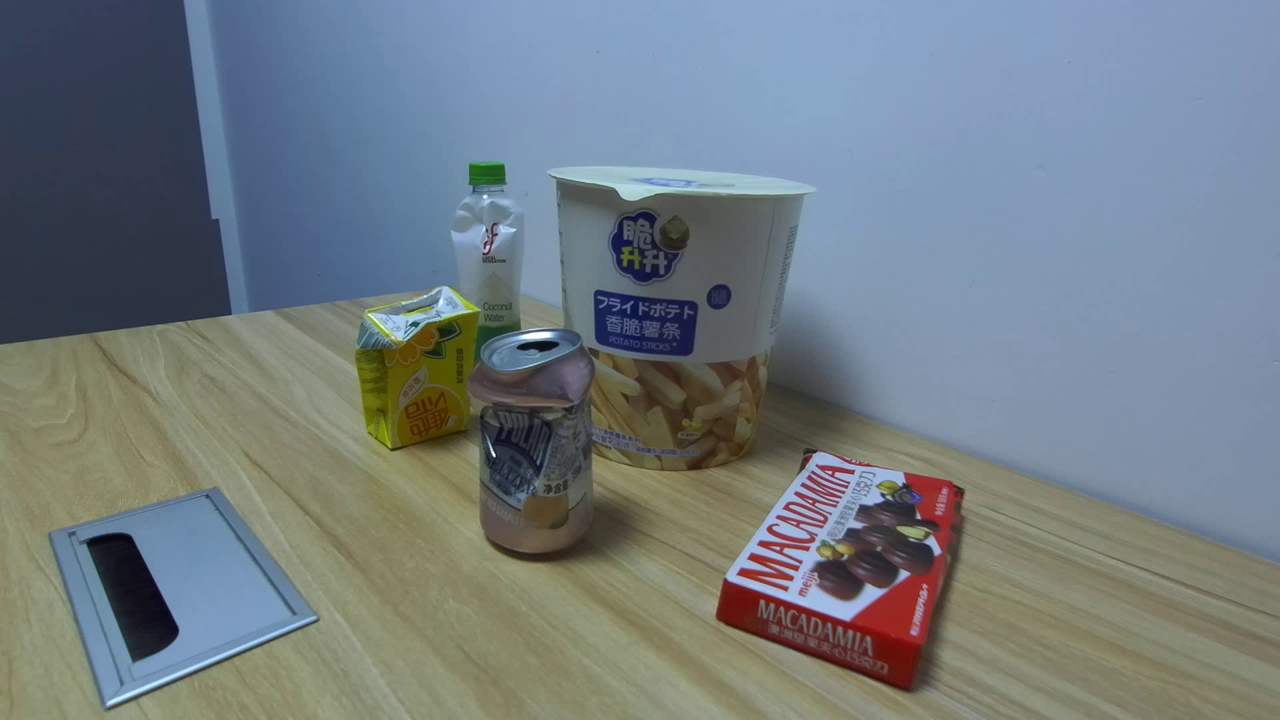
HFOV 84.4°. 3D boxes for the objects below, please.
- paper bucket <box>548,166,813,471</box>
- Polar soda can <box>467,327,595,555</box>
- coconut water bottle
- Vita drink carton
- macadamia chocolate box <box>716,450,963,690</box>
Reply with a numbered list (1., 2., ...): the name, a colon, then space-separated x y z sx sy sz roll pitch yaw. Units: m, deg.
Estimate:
1. paper bucket: 0.025 -0.037 0.530 0.198 0.194 0.198 3 19 -1
2. Polar soda can: -0.061 0.046 0.392 0.071 0.122 0.066 3 24 1
3. coconut water bottle: -0.135 -0.079 0.632 0.069 0.186 0.069 1 19 0
4. Vita drink carton: -0.157 0.008 0.508 0.087 0.108 0.042 -17 40 -38
5. macadamia chocolate box: 0.122 0.102 0.399 0.105 0.028 0.183 12 20 25
